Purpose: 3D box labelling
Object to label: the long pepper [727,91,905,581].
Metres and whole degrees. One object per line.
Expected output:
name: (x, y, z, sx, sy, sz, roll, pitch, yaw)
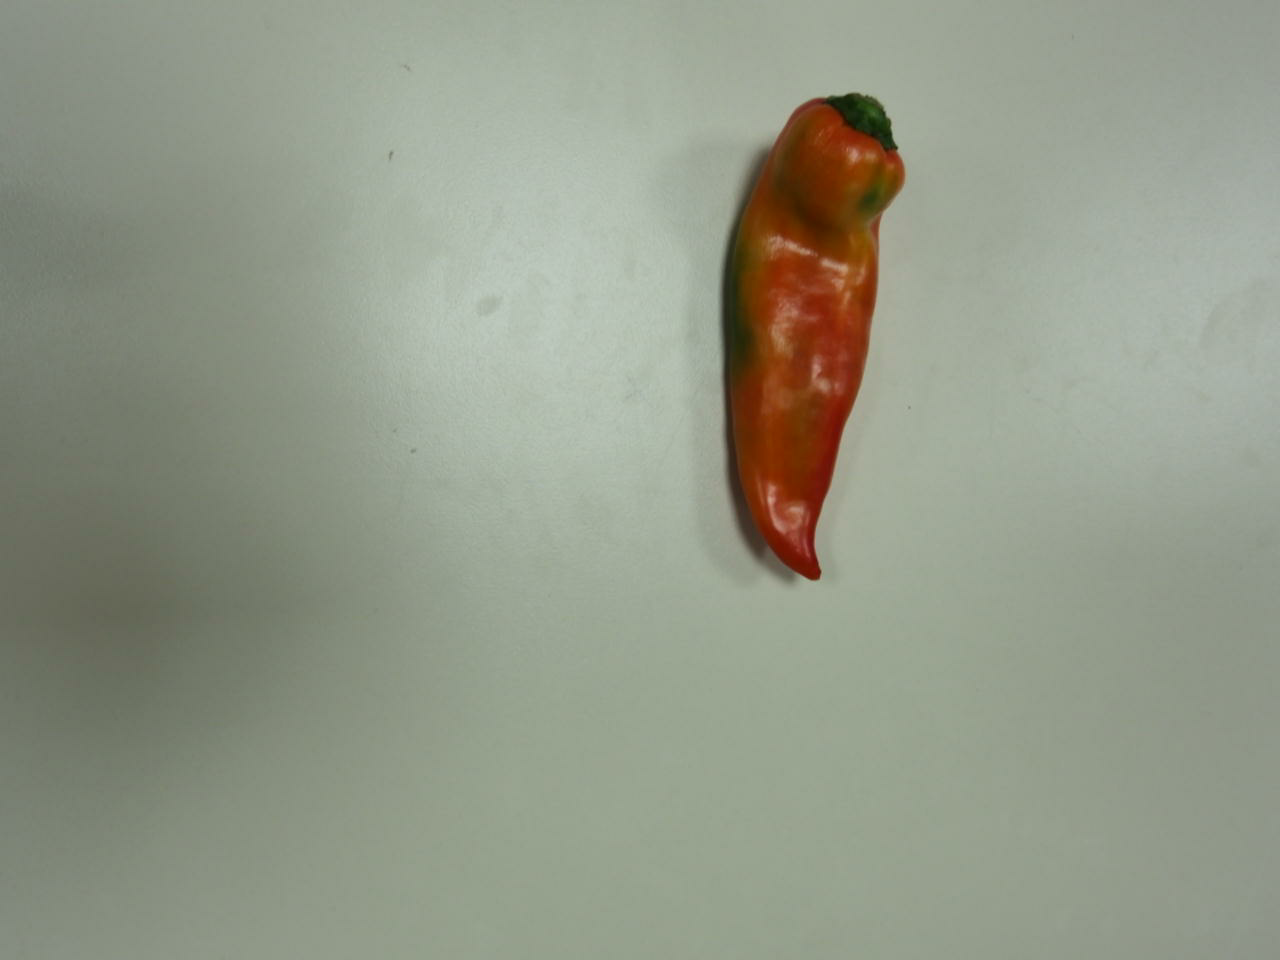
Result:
long pepper: (0.074, -0.058, 0.418, 0.066, 0.065, 0.199, 5, 90, -11)
